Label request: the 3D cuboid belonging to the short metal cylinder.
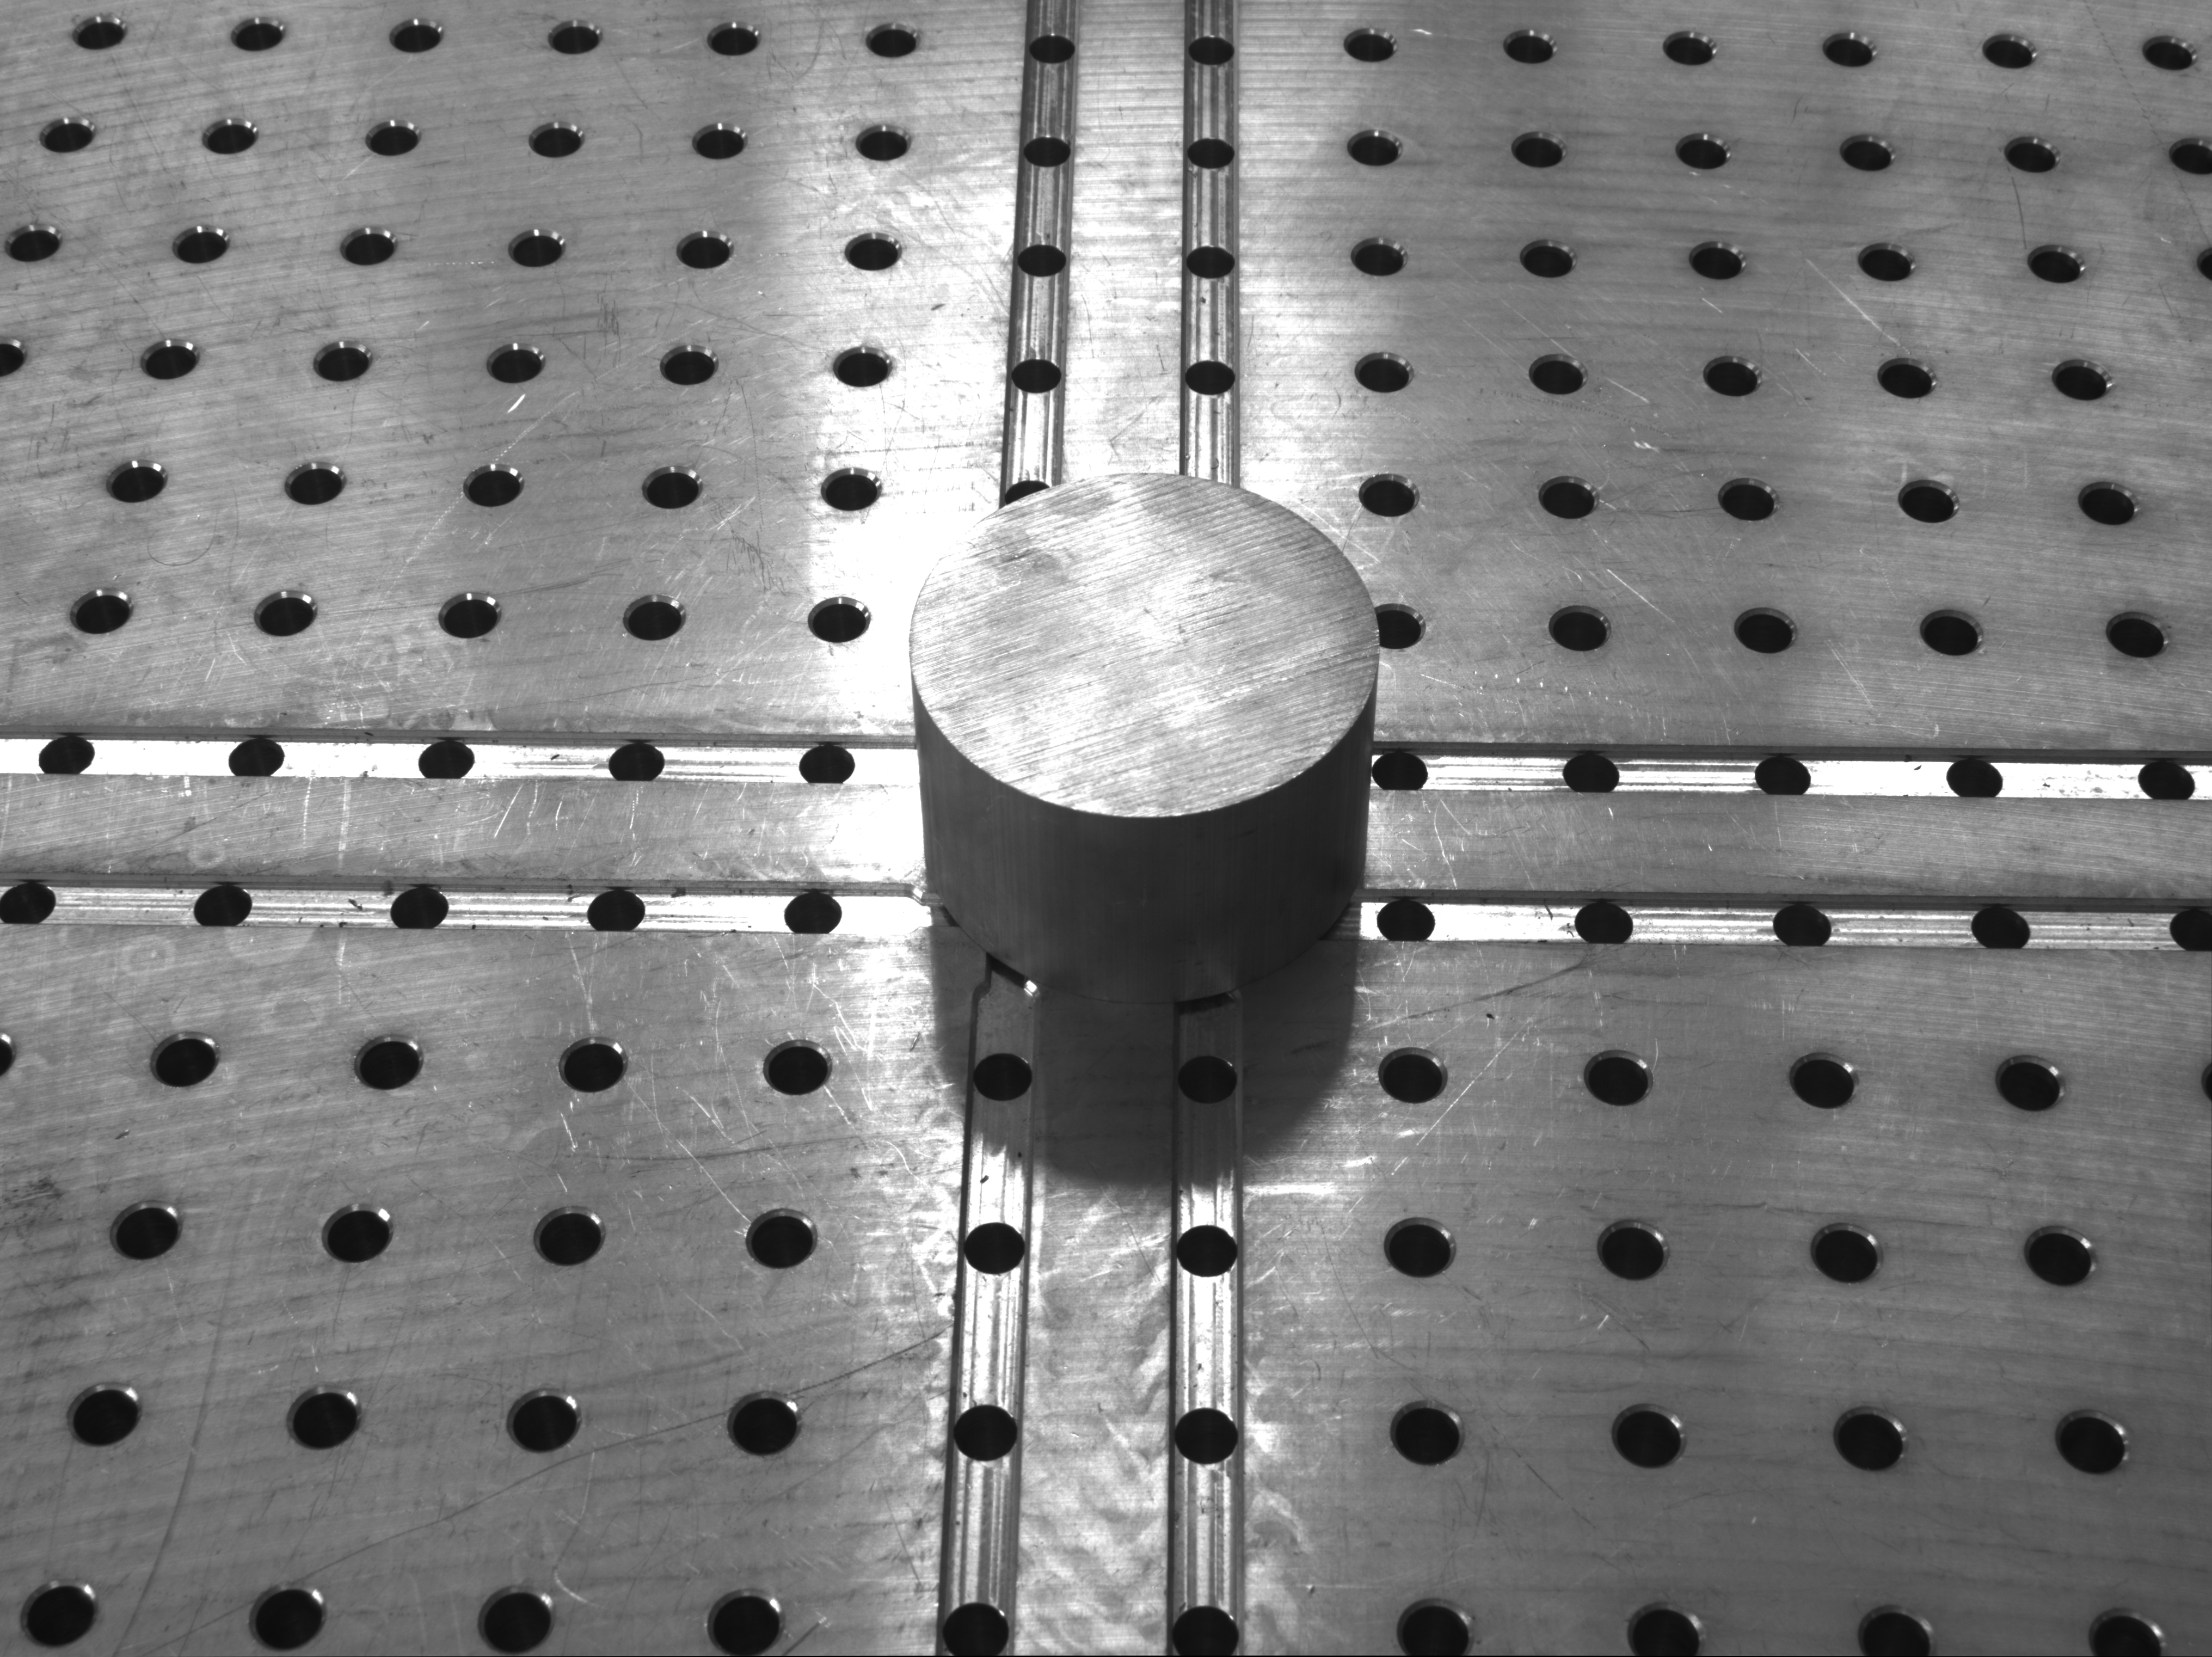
[{"bbox_3d":[0.006,-0.015,0.642,0.080,0.050,0.080,0,50,0],"label":"short metal cylinder"}]
